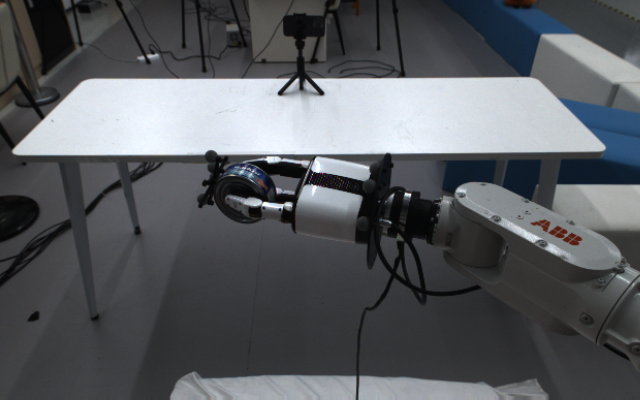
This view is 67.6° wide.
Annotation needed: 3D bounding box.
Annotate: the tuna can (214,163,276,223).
[{"bbox_3d":[-0.106,-0.007,0.689,0.085,0.085,0.034,9,36,10],"label":"tuna can"}]
